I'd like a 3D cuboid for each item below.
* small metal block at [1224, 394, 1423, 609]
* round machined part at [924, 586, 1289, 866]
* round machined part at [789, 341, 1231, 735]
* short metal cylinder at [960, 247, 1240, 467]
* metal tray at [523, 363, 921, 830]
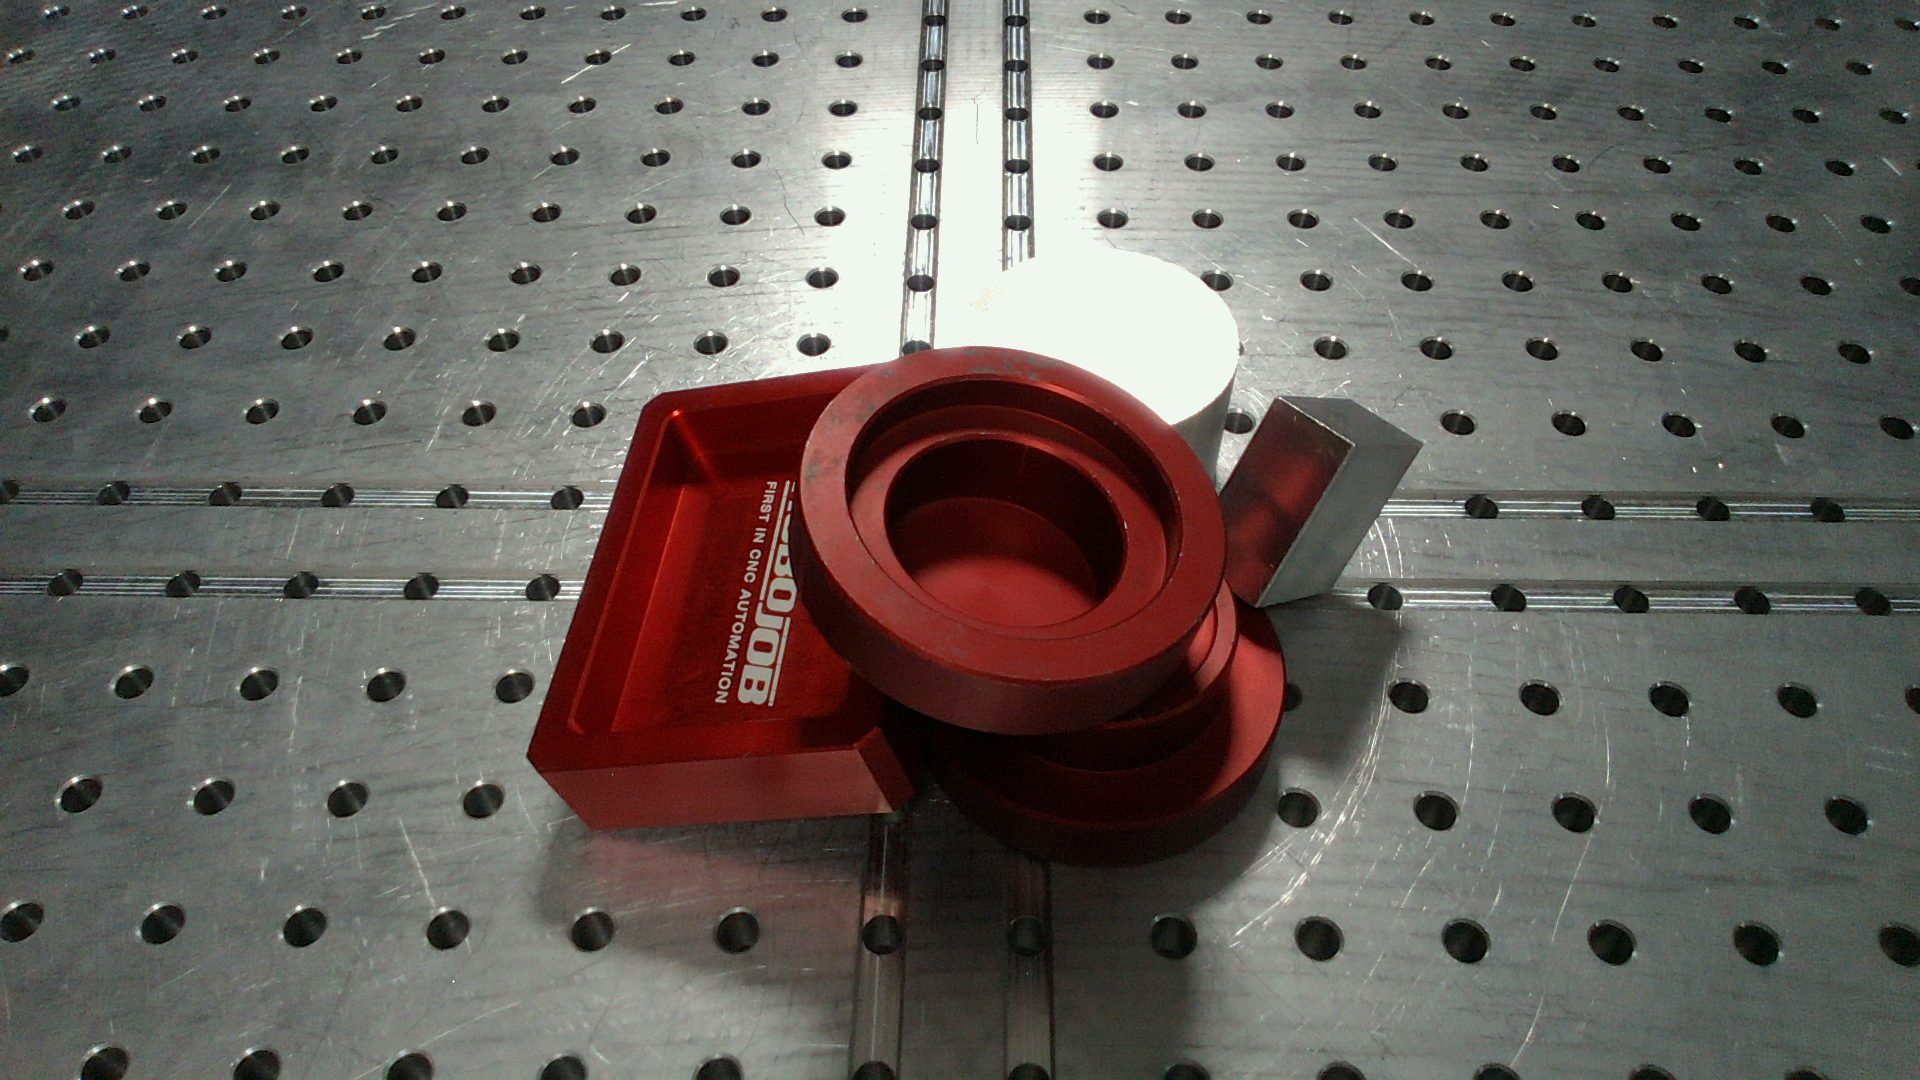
[{"bbox_3d":[0.094,-0.011,0.375,0.025,0.050,0.050,39,25,28],"label":"small metal block"},{"bbox_3d":[0.036,0.030,0.356,0.098,0.042,0.098,0,50,0],"label":"round machined part"},{"bbox_3d":[0.009,0.003,0.319,0.098,0.042,0.098,7,51,-8],"label":"round machined part"},{"bbox_3d":[0.040,-0.043,0.414,0.080,0.050,0.080,0,50,0],"label":"short metal cylinder"},{"bbox_3d":[-0.053,0.010,0.368,0.090,0.030,0.130,-6,48,14],"label":"metal tray"}]
